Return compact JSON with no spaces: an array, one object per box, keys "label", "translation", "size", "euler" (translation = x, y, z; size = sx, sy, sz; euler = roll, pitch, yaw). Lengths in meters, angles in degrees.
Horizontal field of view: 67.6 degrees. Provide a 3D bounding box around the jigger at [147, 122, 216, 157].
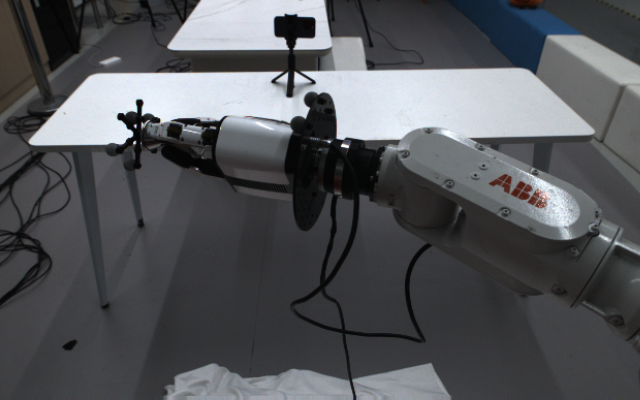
[{"label":"jigger","translation":[-0.176,-0.081,0.603],"size":[0.071,0.043,0.043],"euler":[7,35,14]}]
